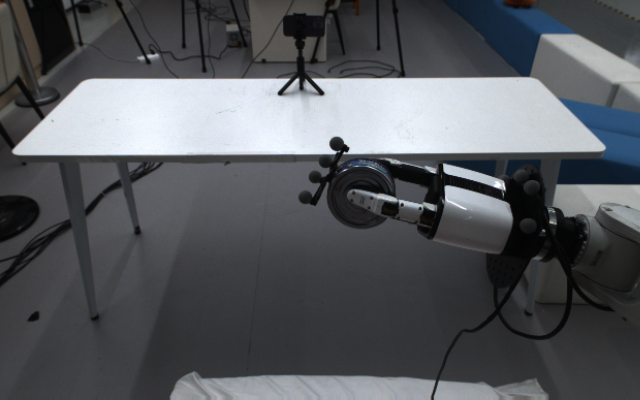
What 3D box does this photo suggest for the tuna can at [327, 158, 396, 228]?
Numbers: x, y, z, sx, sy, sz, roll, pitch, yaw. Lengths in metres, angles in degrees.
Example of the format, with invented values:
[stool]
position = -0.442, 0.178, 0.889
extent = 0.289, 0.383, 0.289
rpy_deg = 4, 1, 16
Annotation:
[tuna can]
position = 0.054, -0.010, 0.607
extent = 0.085, 0.085, 0.034
rpy_deg = 3, 20, 1
